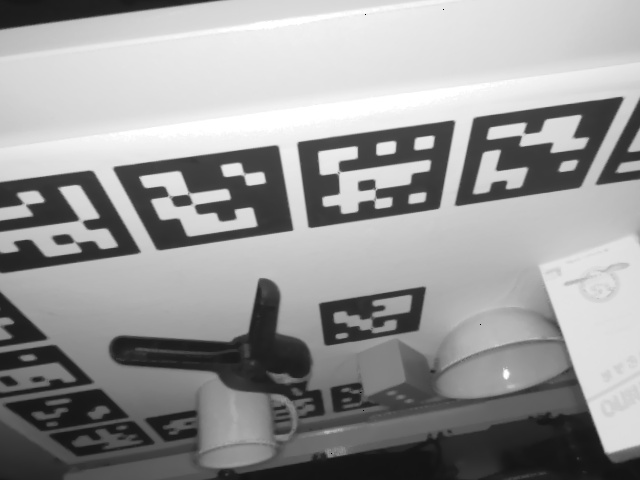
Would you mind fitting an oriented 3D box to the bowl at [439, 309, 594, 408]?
[{"bbox_3d":[0.200,0.119,0.729,0.162,0.055,0.160,-6,142,-4],"label":"bowl"}]

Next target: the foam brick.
[{"bbox_3d":[0.085,0.145,0.748,0.052,0.051,0.078,-26,139,18],"label":"foam brick"}]

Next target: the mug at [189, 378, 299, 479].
[{"bbox_3d":[-0.079,0.202,0.744,0.118,0.082,0.092,11,138,-20],"label":"mug"}]

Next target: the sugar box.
[{"bbox_3d":[0.272,0.076,0.591,0.092,0.177,0.045,-22,139,18],"label":"sugar box"}]

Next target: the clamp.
[{"bbox_3d":[-0.057,0.106,0.656,0.164,0.037,0.203,-24,140,14],"label":"clamp"}]
